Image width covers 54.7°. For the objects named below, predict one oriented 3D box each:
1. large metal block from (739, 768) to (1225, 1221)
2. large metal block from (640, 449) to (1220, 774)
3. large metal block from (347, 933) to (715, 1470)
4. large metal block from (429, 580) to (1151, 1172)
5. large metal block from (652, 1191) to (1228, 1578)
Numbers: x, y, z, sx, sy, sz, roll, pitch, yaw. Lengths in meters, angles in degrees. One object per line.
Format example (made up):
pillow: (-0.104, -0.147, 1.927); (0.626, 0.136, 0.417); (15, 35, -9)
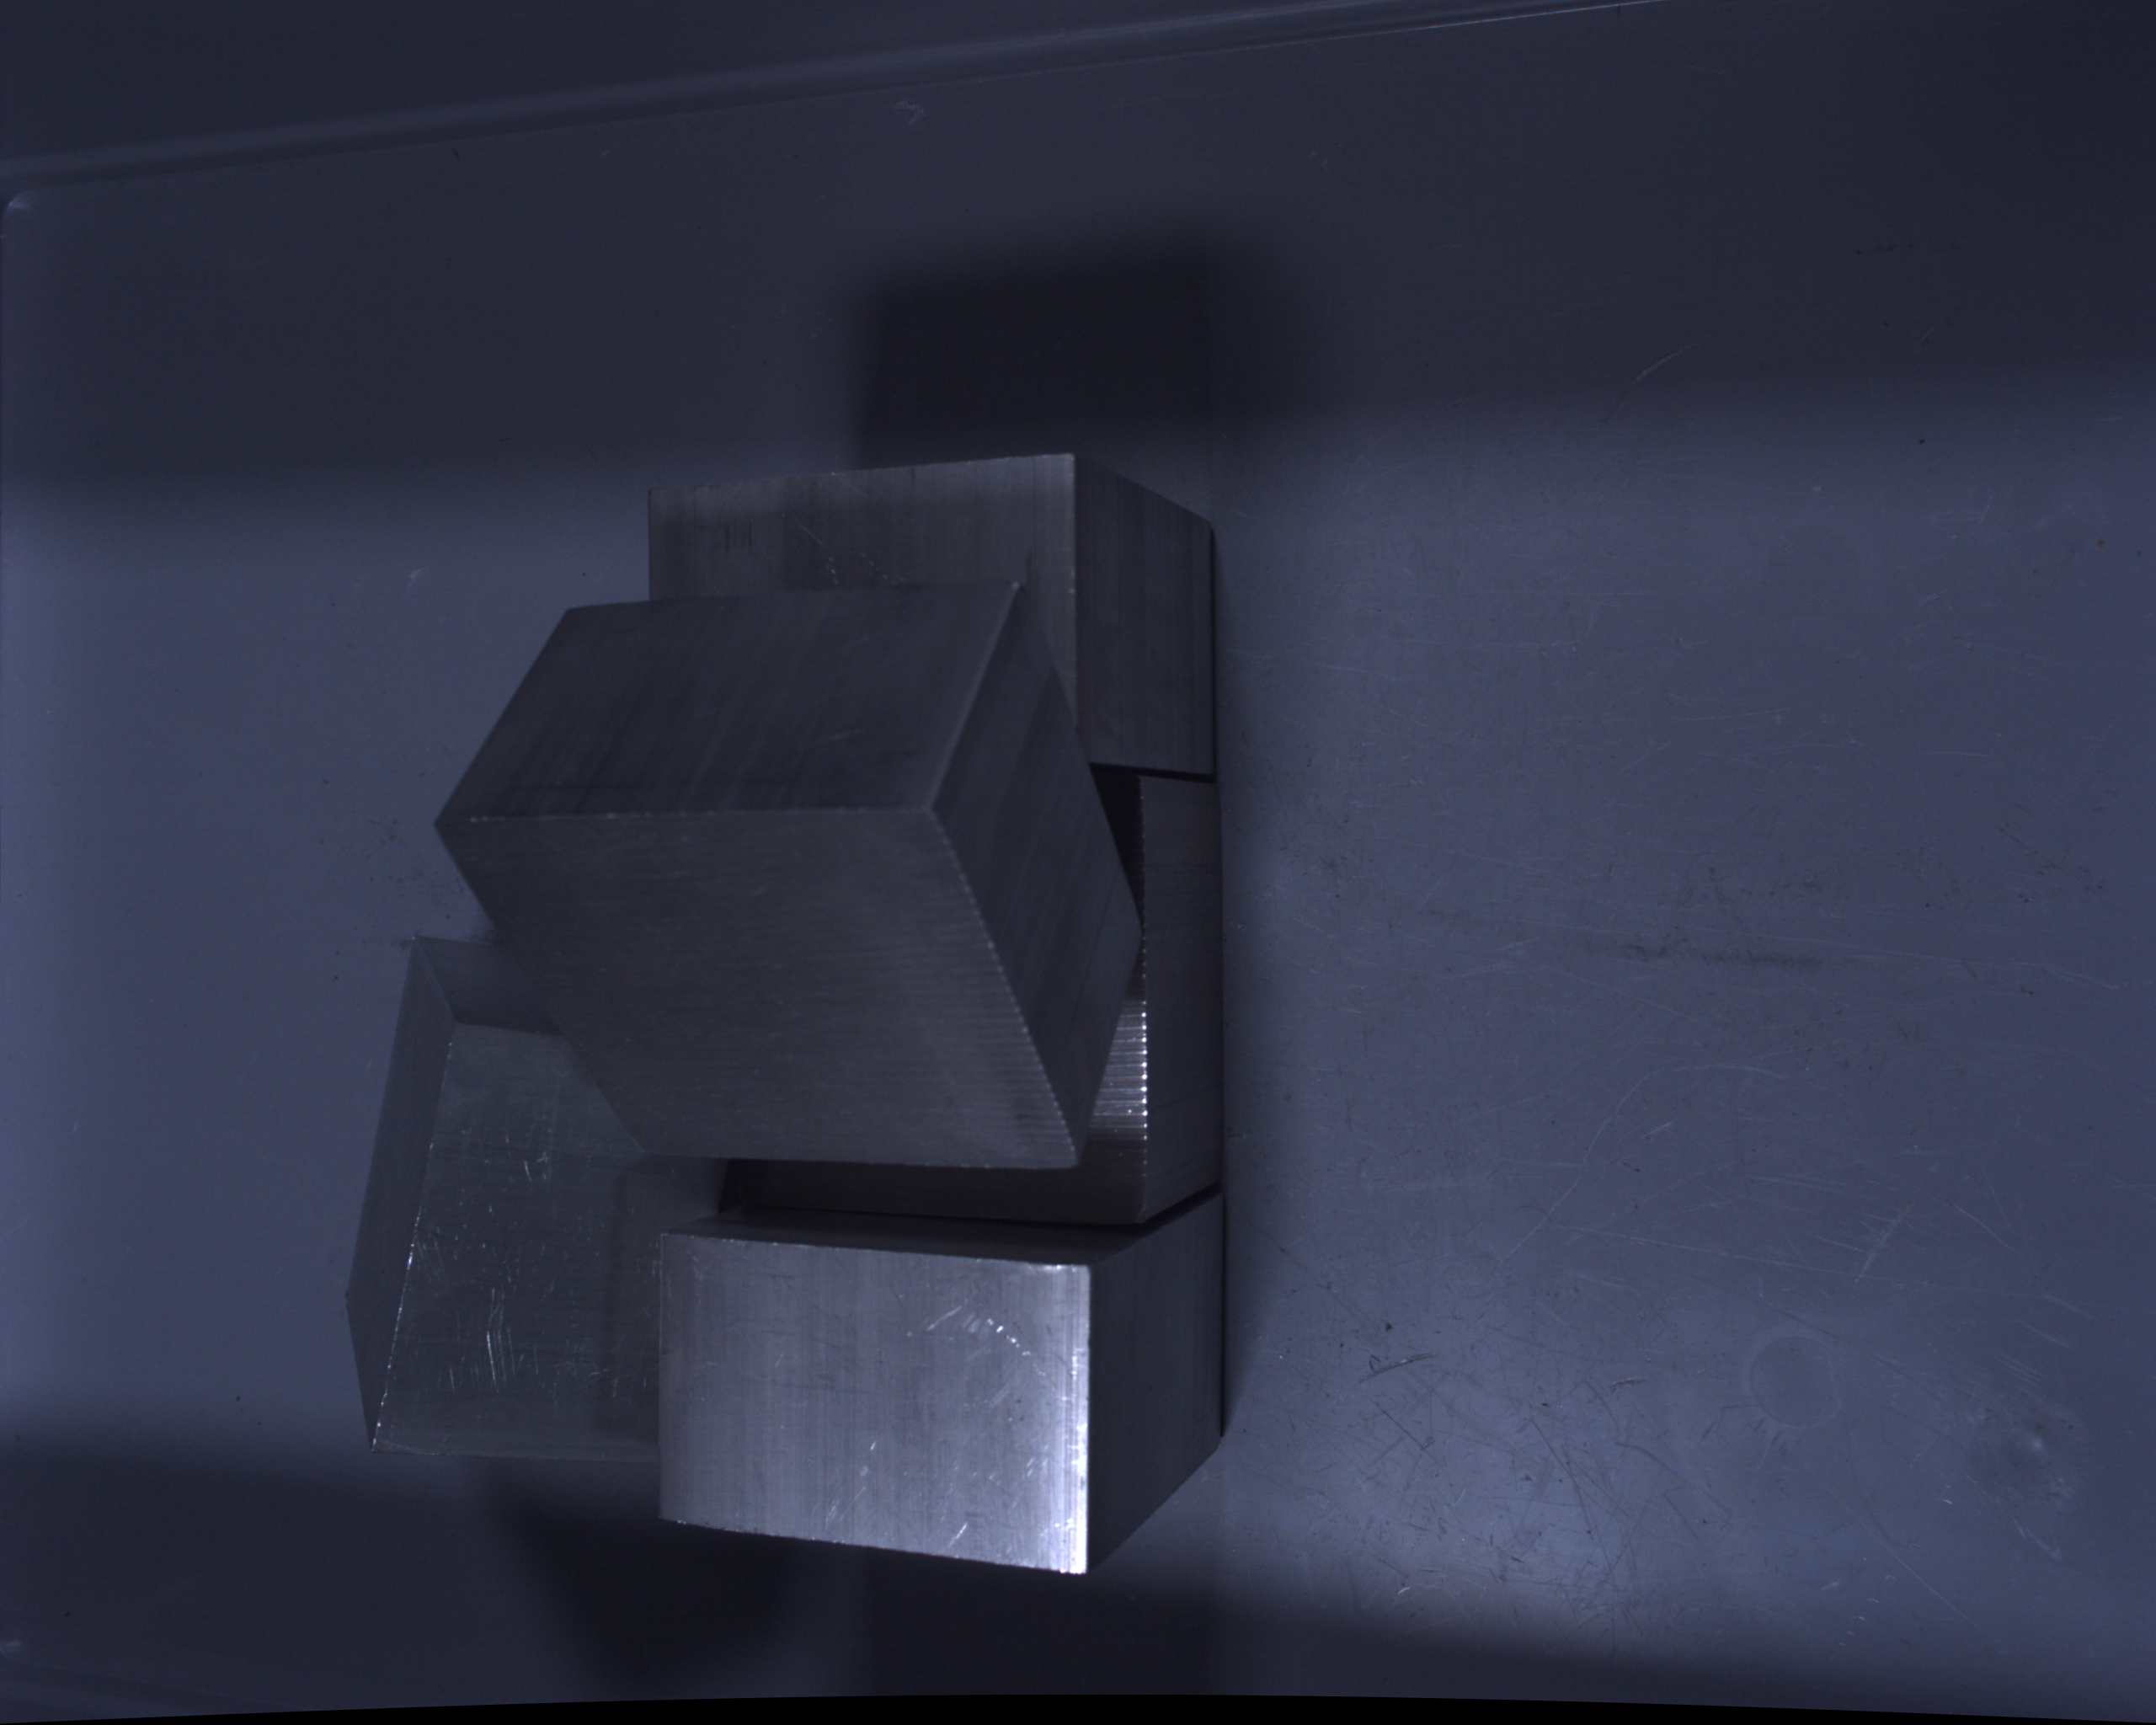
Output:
large metal block: (-0.018, 0.023, 0.403); (0.080, 0.050, 0.079); (-1, 90, 19)
large metal block: (-0.024, -0.041, 0.386); (0.080, 0.080, 0.050); (-1, 90, 19)
large metal block: (-0.108, 0.063, 0.408); (0.050, 0.080, 0.079); (10, 95, -24)
large metal block: (-0.041, 0.004, 0.333); (0.080, 0.080, 0.050); (-1, 45, 19)
large metal block: (-0.022, 0.090, 0.386); (0.080, 0.080, 0.050); (1, 90, 19)
